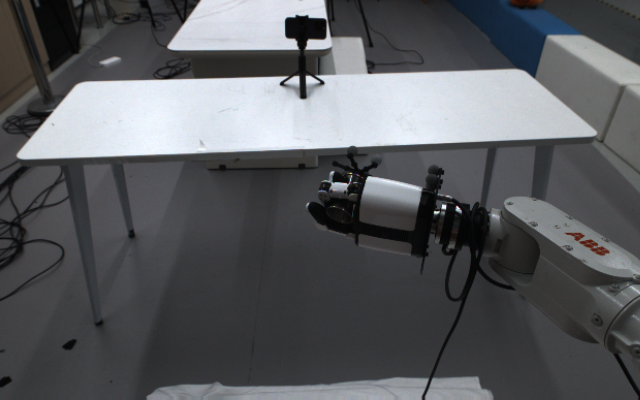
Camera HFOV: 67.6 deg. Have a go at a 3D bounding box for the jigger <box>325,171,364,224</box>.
[{"bbox_3d":[0.042,-0.007,0.741,0.043,0.043,0.071,15,58,18],"label":"jigger"}]
